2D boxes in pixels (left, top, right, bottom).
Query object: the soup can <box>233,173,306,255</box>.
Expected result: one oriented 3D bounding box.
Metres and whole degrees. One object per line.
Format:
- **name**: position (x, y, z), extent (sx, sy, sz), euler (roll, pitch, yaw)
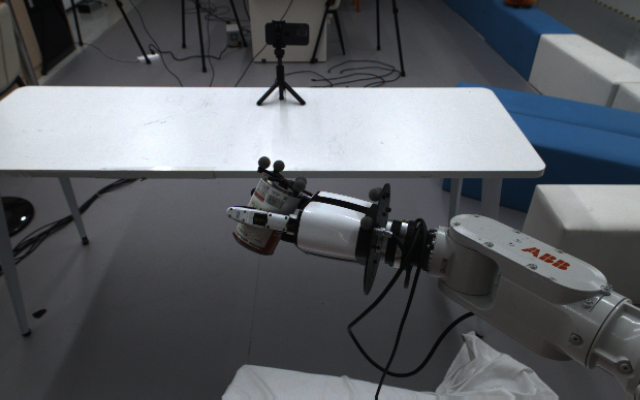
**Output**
- **soup can**: position (-0.076, 0.022, 0.712), extent (0.067, 0.101, 0.067), euler (27, 10, -5)
